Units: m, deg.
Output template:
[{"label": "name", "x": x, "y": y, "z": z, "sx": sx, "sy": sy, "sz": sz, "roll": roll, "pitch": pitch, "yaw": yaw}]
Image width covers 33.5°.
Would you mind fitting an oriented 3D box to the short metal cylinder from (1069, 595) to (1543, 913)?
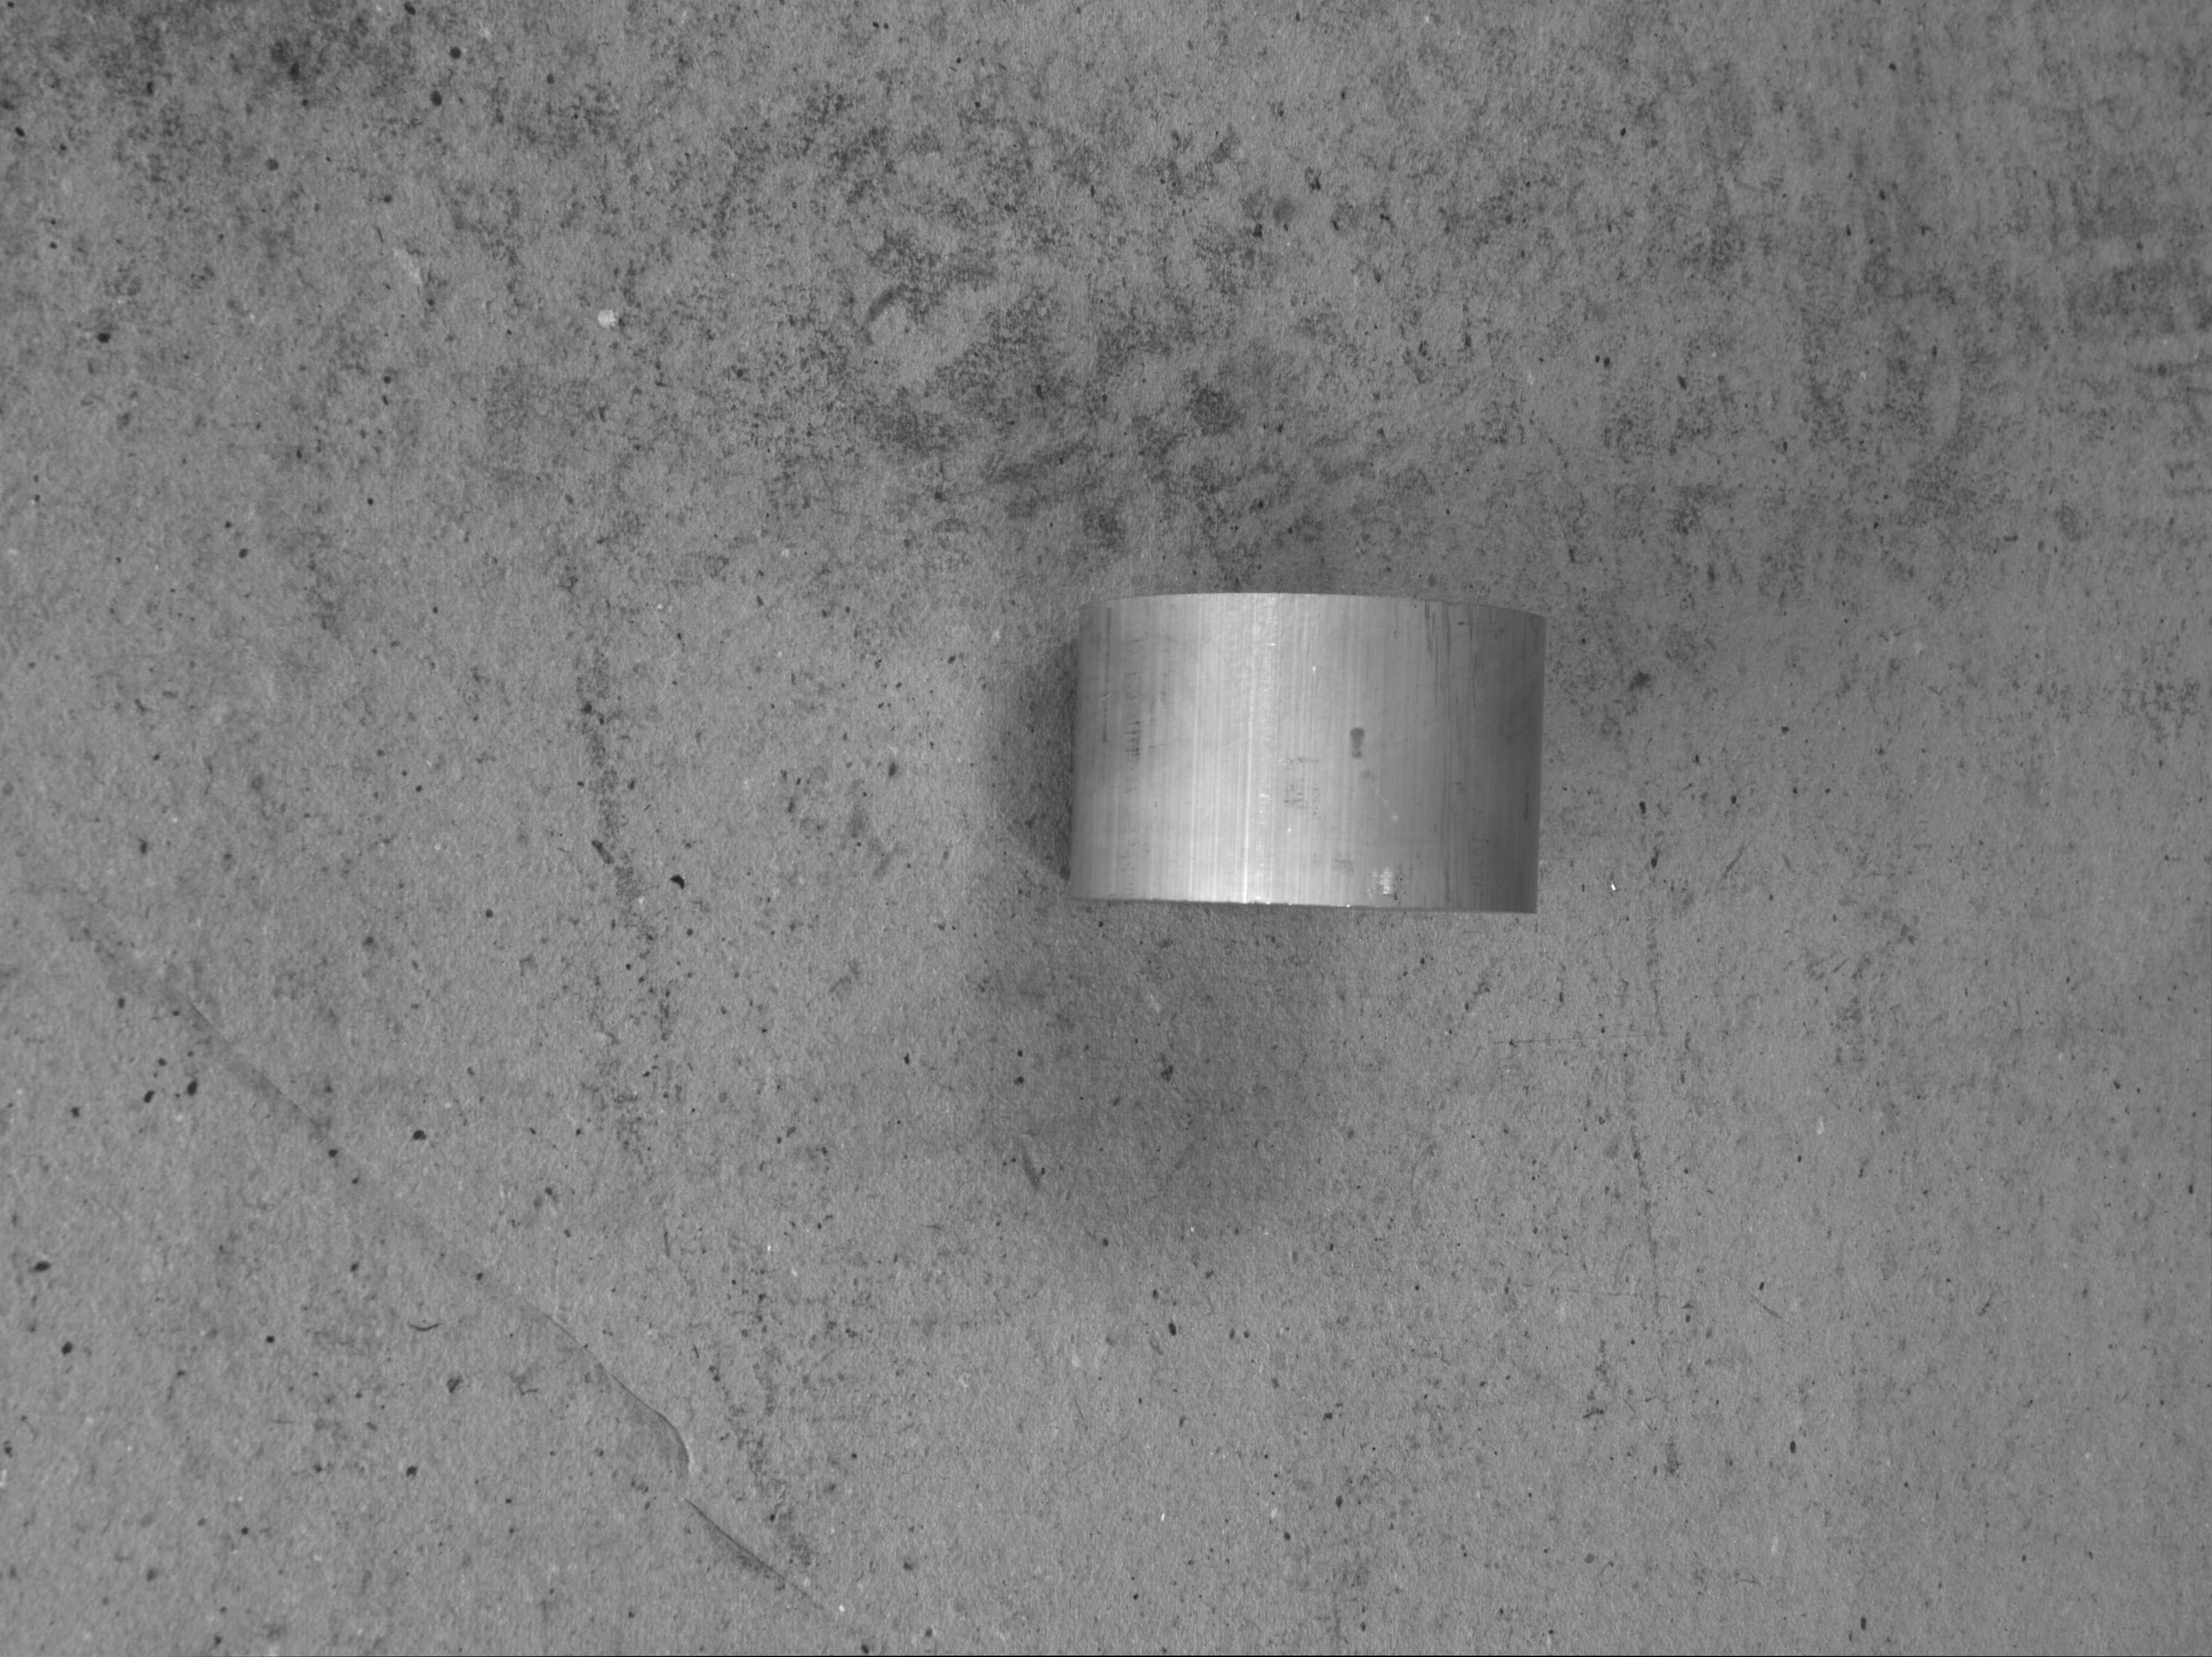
[{"label": "short metal cylinder", "x": 0.034, "y": -0.012, "z": 0.630, "sx": 0.080, "sy": 0.080, "sz": 0.050, "roll": 3, "pitch": 88, "yaw": -40}]
